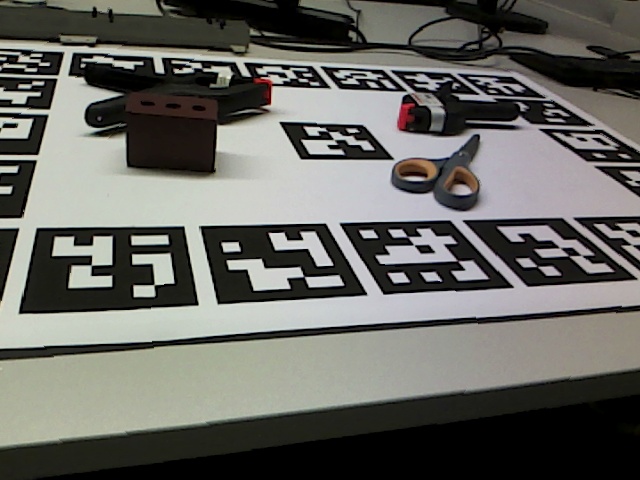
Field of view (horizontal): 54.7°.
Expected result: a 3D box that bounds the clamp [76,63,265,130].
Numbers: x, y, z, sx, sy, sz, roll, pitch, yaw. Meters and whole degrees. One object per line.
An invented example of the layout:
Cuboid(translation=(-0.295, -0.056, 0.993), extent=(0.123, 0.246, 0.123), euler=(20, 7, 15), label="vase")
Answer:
Cuboid(translation=(-0.159, -0.160, 0.685), extent=(0.202, 0.036, 0.166), euler=(-4, 31, -21), label="clamp")

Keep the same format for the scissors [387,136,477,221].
Cuboid(translation=(0.133, -0.078, 0.643), extent=(0.088, 0.016, 0.202), euler=(26, 33, 11), label="scissors")

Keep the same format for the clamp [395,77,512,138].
Cuboid(translation=(0.152, -0.162, 0.776), extent=(0.164, 0.036, 0.122), euler=(-22, 51, -39), label="clamp")

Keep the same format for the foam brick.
Cuboid(translation=(-0.138, -0.089, 0.568), extent=(0.078, 0.051, 0.053), euler=(-1, 35, -8), label="foam brick")
